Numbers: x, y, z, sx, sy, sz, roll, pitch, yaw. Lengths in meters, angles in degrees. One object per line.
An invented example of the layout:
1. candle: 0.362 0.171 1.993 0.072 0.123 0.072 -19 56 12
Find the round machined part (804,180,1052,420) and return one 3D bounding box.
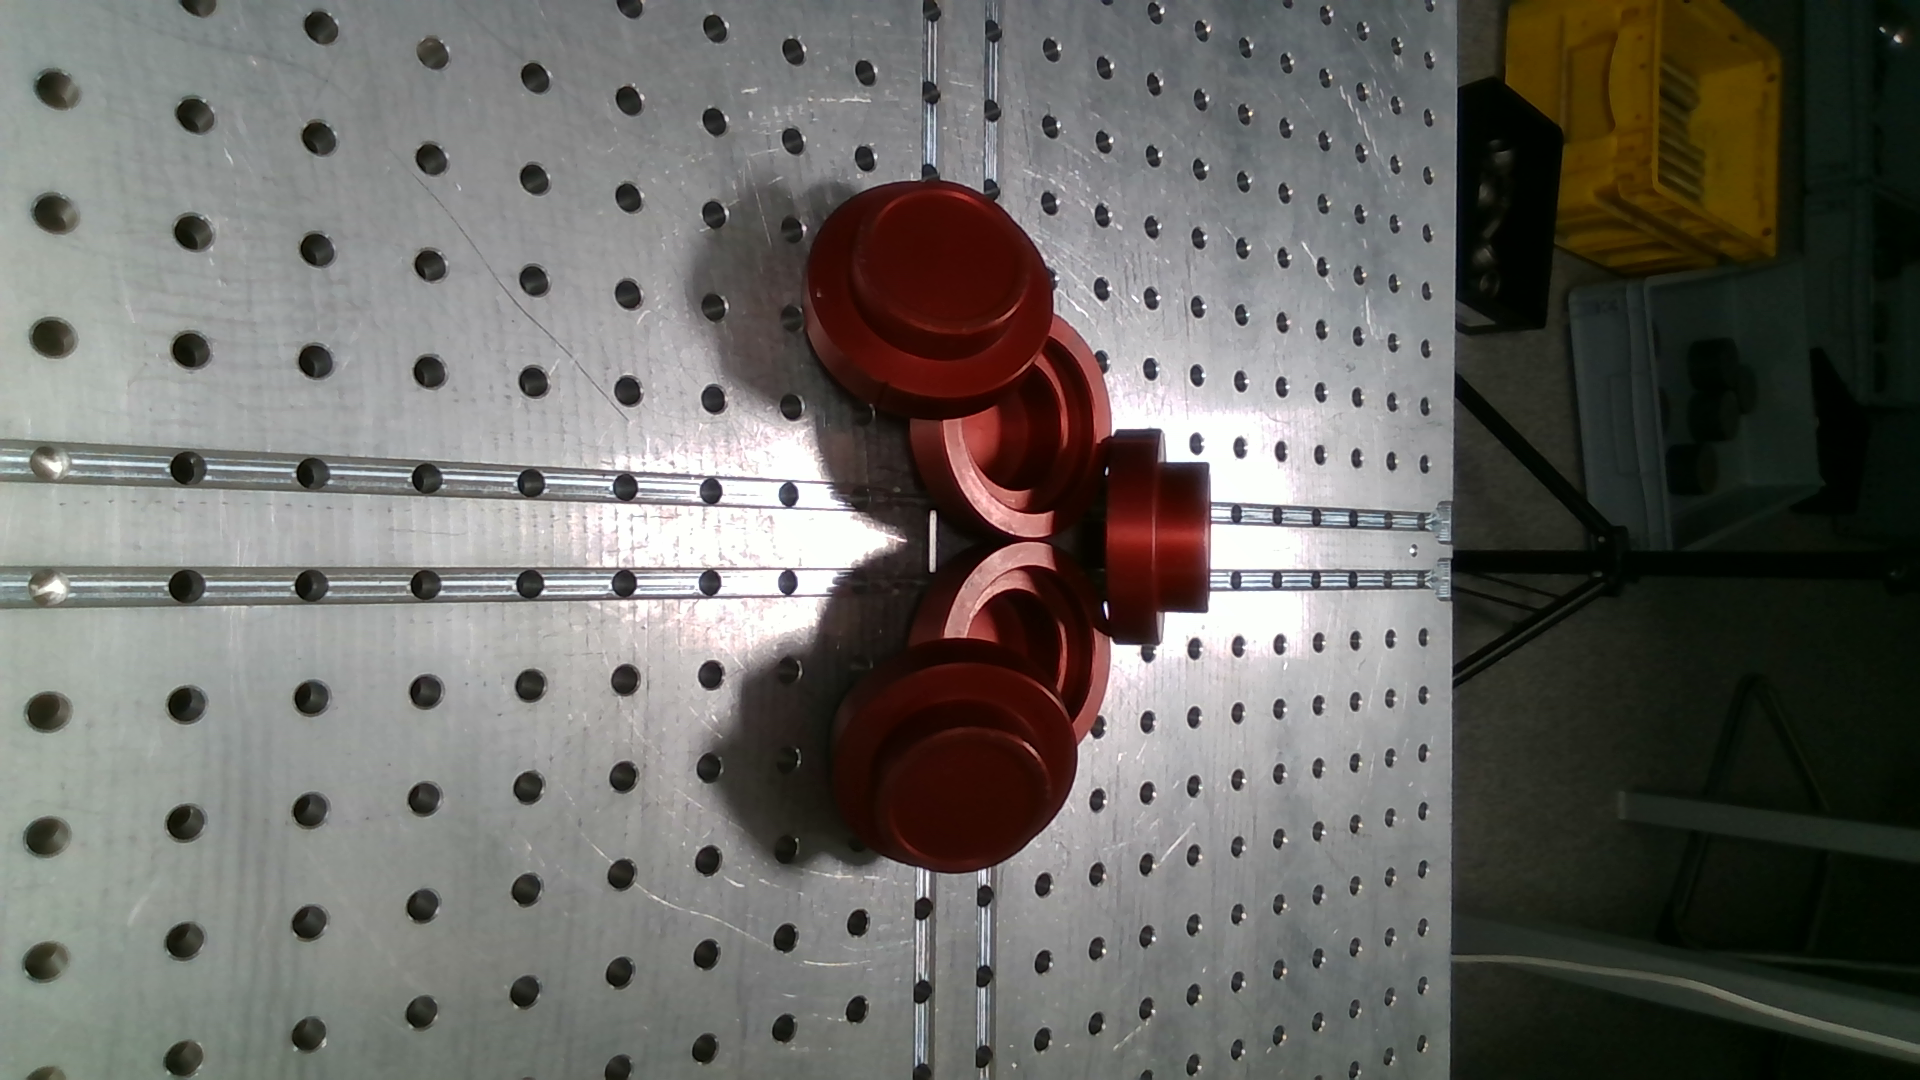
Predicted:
1. round machined part: -0.011 -0.100 0.535 0.098 0.042 0.098 5 66 -11

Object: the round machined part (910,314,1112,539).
1. round machined part: 0.017 -0.049 0.588 0.098 0.042 0.098 0 90 -40

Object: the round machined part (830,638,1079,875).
1. round machined part: -0.001 0.091 0.539 0.098 0.042 0.098 -4 116 -9

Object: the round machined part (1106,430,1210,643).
1. round machined part: 0.091 -0.002 0.619 0.098 0.042 0.098 1 89 -78

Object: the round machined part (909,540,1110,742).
1. round machined part: 0.015 0.049 0.588 0.098 0.042 0.098 0 90 -40
